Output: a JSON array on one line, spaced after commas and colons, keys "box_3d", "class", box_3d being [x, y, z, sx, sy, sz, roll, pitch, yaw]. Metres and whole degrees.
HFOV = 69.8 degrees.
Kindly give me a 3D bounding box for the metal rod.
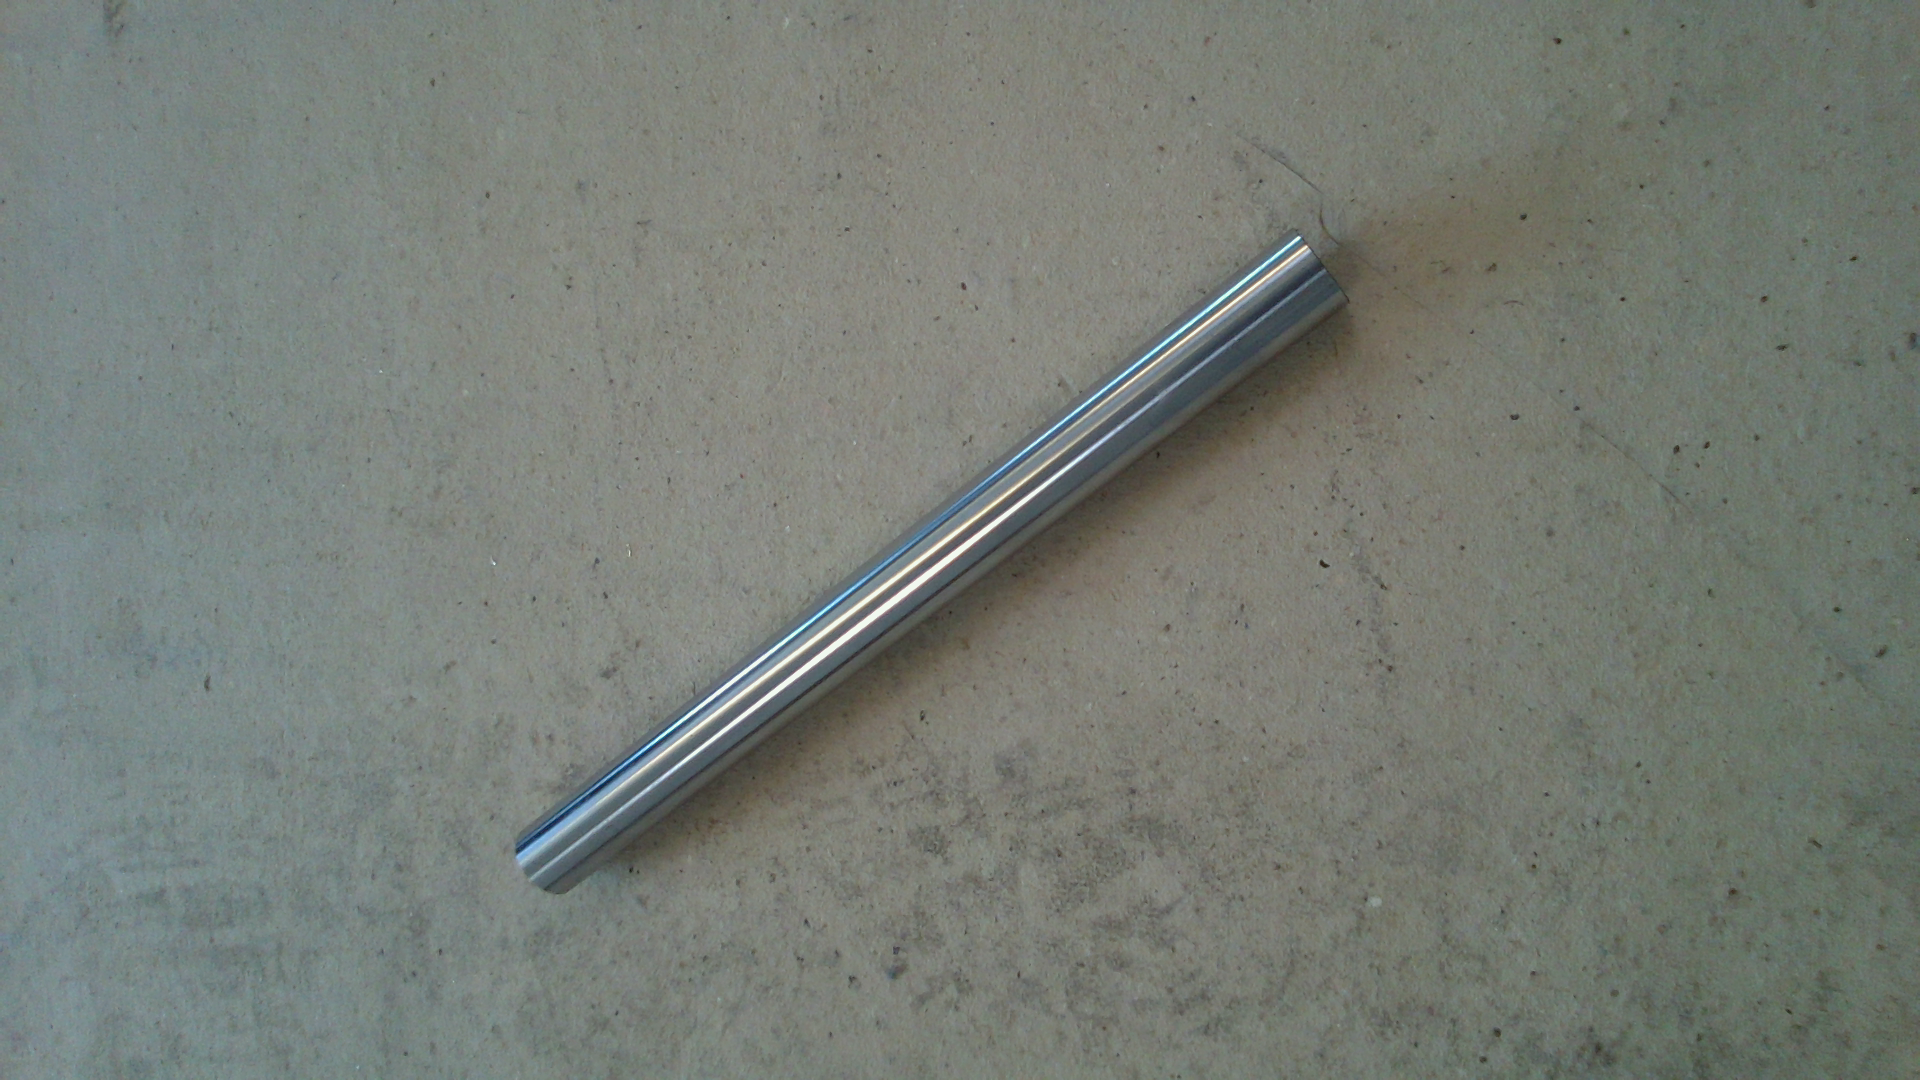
[{"box_3d": [-0.020, 0.015, 0.404, 0.299, 0.025, 0.025, -37, 78, 16], "class": "metal rod"}]
